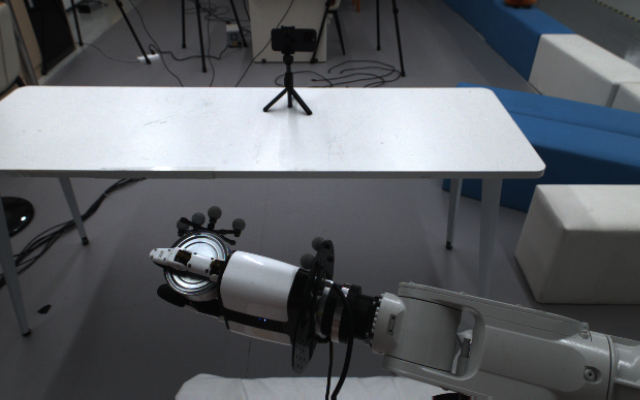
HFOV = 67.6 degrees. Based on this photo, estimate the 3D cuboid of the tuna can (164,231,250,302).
[{"bbox_3d":[-0.150,0.084,0.612,0.085,0.034,0.085,-6,58,10],"label":"tuna can"}]
